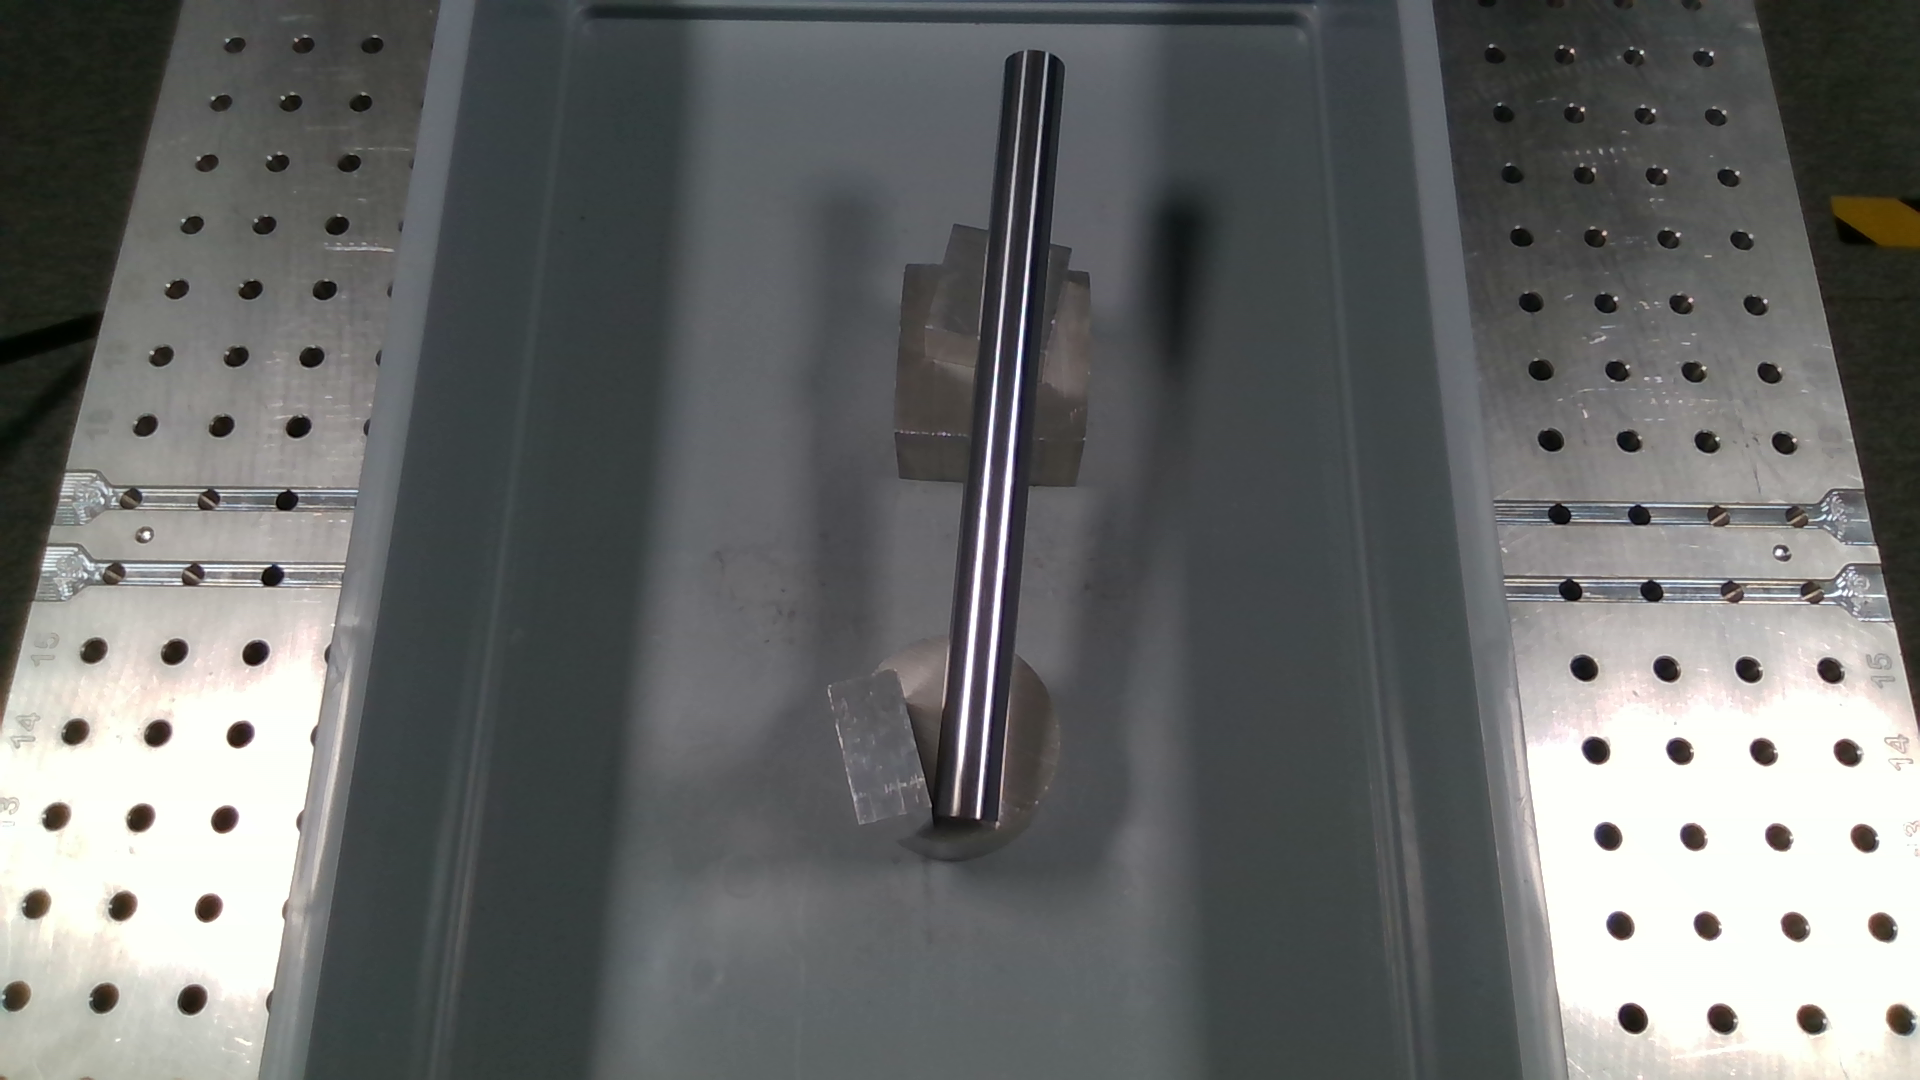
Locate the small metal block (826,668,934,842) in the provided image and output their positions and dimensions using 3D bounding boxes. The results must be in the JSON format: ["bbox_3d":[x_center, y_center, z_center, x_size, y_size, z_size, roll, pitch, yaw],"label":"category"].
[{"bbox_3d":[-0.028,0.079,0.491,0.025,0.050,0.050,-14,71,-5],"label":"small metal block"}]

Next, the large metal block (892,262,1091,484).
[{"bbox_3d":[0.014,-0.071,0.598,0.080,0.050,0.080,2,70,1],"label":"large metal block"}]

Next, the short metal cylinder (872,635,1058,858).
[{"bbox_3d":[-0.003,0.083,0.544,0.080,0.050,0.080,0,70,0],"label":"short metal cylinder"}]

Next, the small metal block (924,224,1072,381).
[{"bbox_3d":[0.016,-0.098,0.569,0.050,0.025,0.050,12,71,4],"label":"small metal block"}]

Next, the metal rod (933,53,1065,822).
[{"bbox_3d":[0.016,-0.045,0.528,0.025,0.025,0.299,5,78,2],"label":"metal rod"}]
